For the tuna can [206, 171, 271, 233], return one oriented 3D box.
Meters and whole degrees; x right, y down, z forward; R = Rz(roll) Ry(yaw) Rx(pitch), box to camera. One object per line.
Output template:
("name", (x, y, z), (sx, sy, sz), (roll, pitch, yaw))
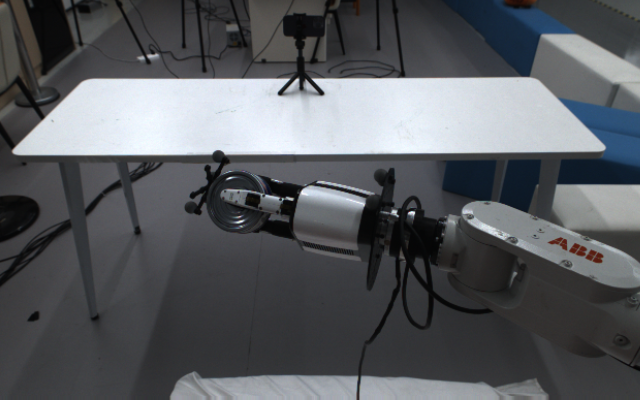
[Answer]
("tuna can", (-0.106, 0.006, 0.651), (0.085, 0.085, 0.034), (9, -3, 10))
